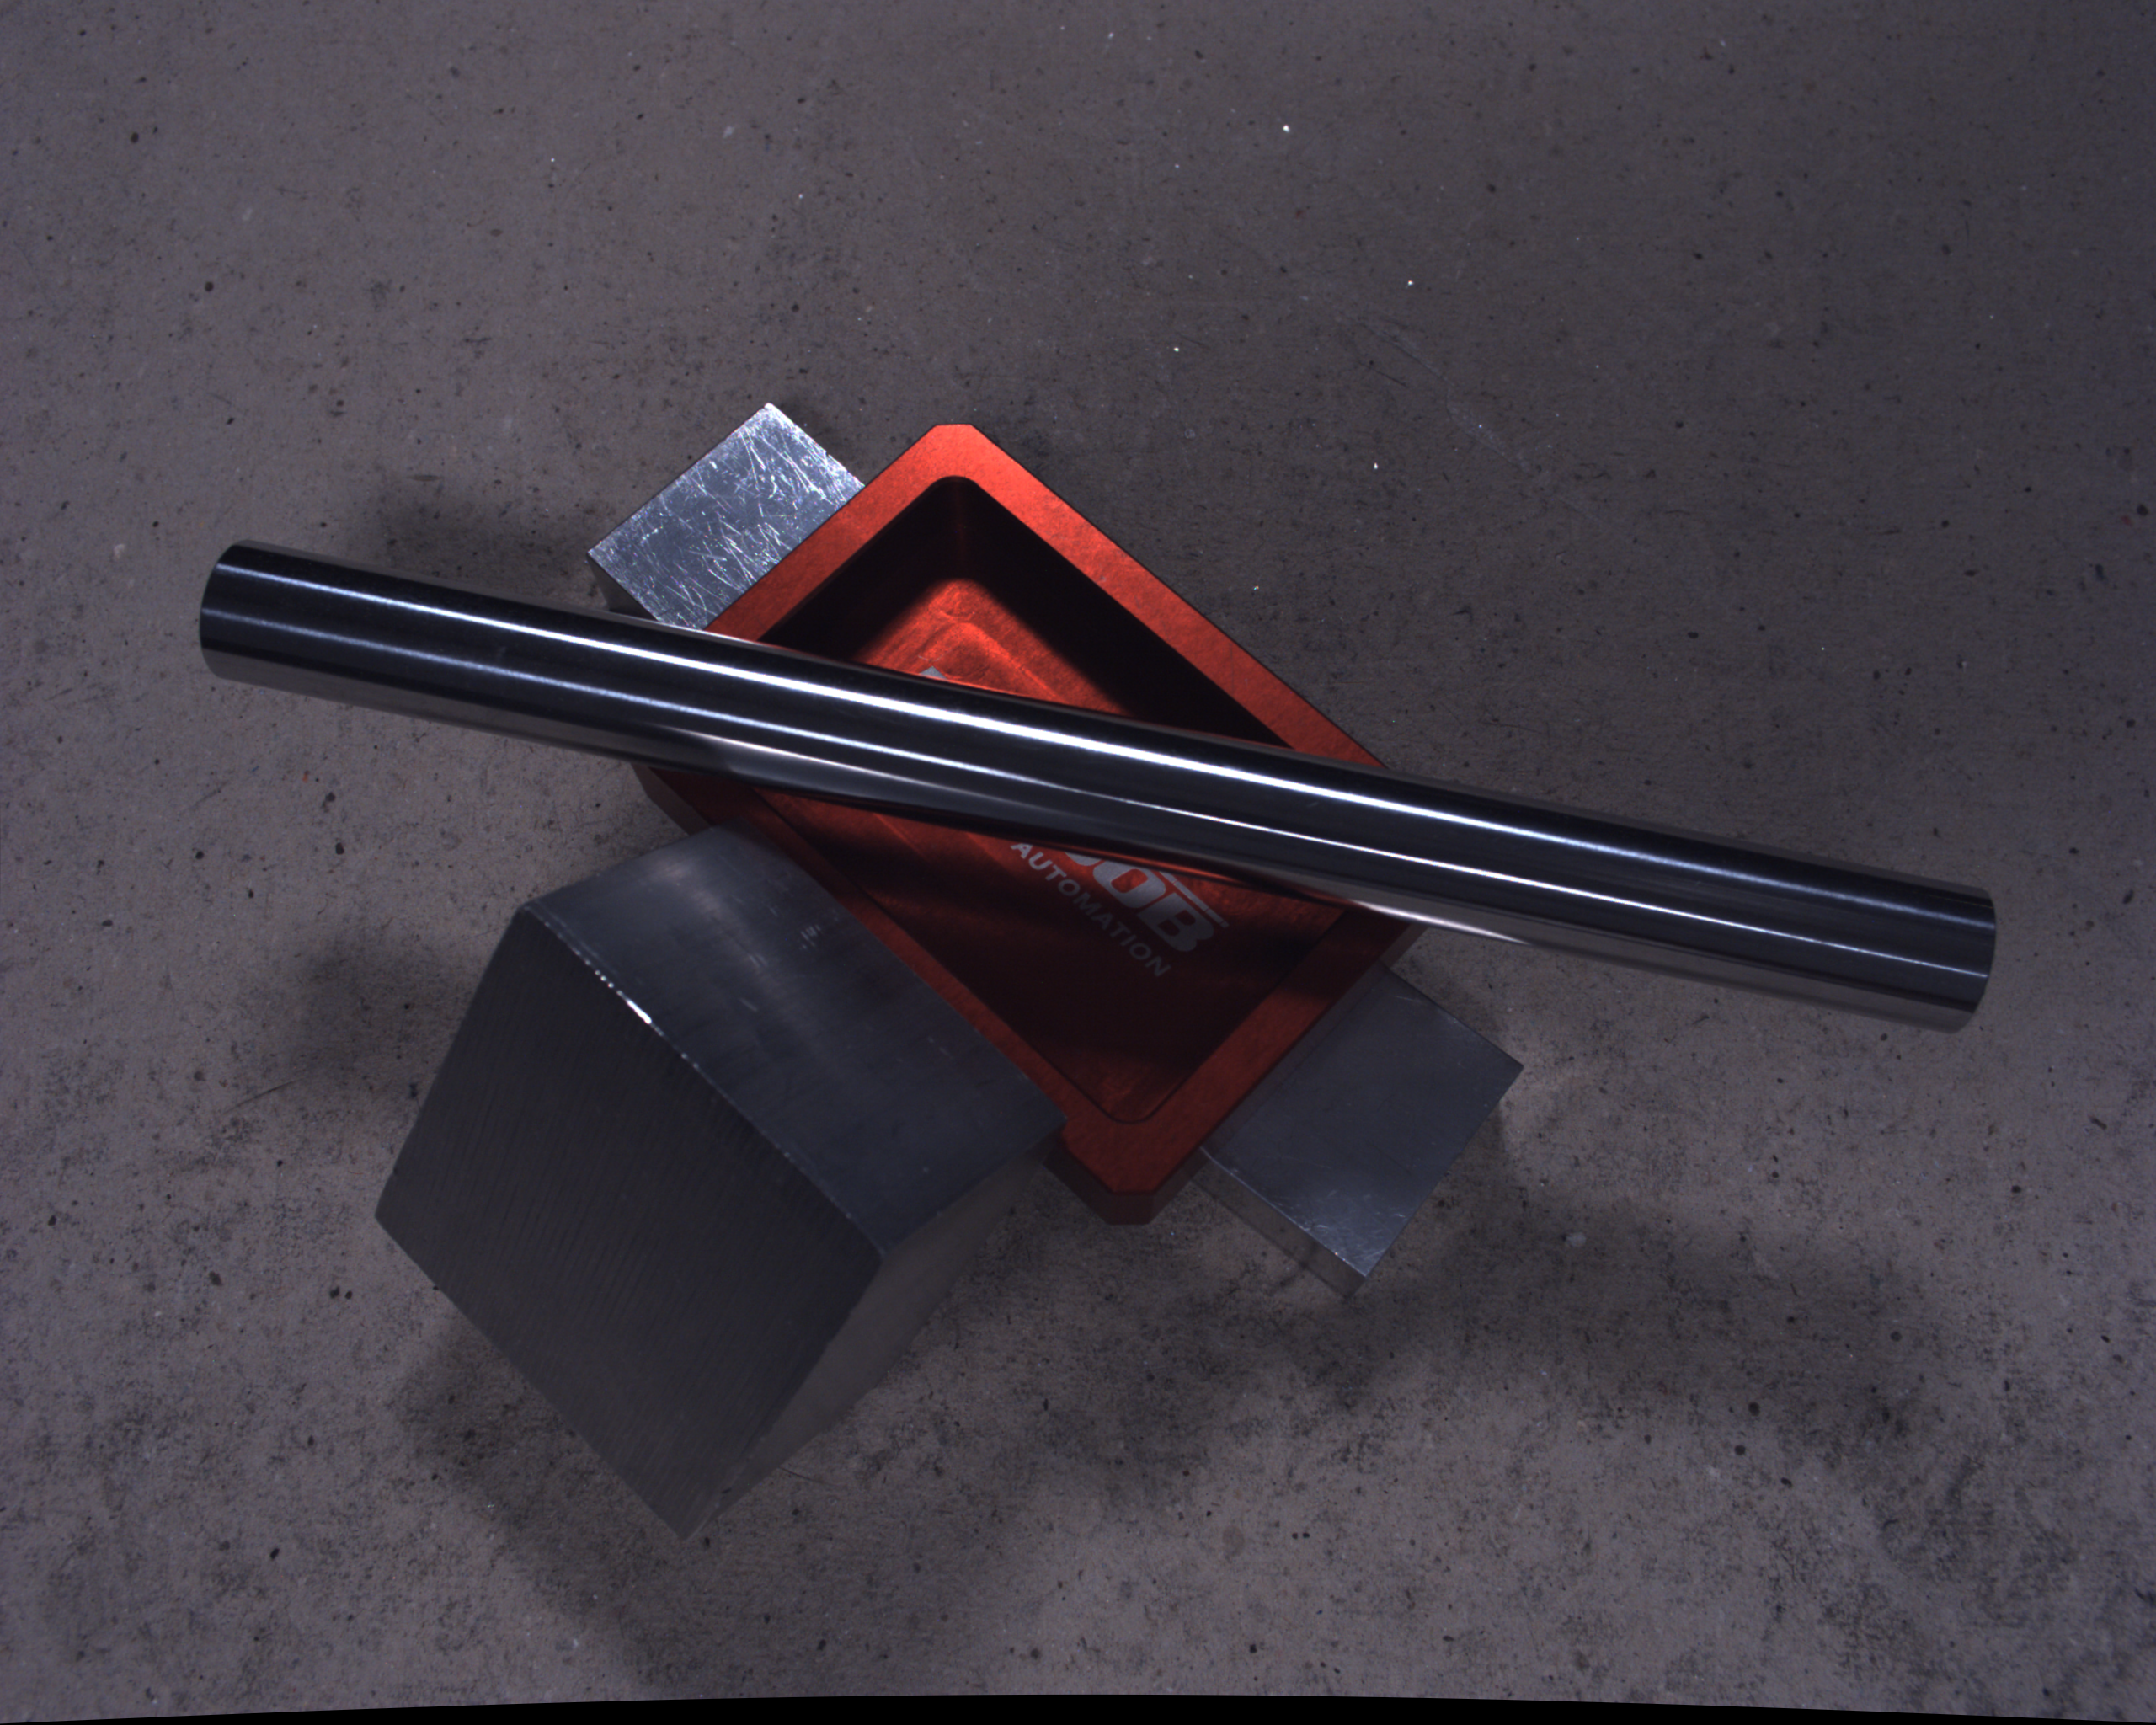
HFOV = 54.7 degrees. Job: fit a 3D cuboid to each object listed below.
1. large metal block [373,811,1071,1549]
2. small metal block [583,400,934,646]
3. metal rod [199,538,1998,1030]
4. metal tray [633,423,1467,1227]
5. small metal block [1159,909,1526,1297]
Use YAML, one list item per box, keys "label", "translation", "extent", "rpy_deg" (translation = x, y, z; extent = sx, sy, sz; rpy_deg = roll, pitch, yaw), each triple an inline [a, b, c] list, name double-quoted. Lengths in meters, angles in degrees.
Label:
- label: "large metal block"
  translation: [-0.062, 0.052, 0.351]
  extent: [0.080, 0.079, 0.050]
  rpy_deg: [41, 33, 13]
- label: "small metal block"
  translation: [-0.063, -0.058, 0.429]
  extent: [0.050, 0.025, 0.050]
  rpy_deg: [43, 75, 13]
- label: "metal rod"
  translation: [0.000, -0.014, 0.356]
  extent: [0.302, 0.025, 0.025]
  rpy_deg: [12, 71, 3]
- label: "metal tray"
  translation: [-0.007, -0.009, 0.382]
  extent: [0.130, 0.030, 0.090]
  rpy_deg: [42, 75, 13]
- label: "small metal block"
  translation: [0.047, 0.045, 0.393]
  extent: [0.050, 0.025, 0.050]
  rpy_deg: [37, 74, 12]
